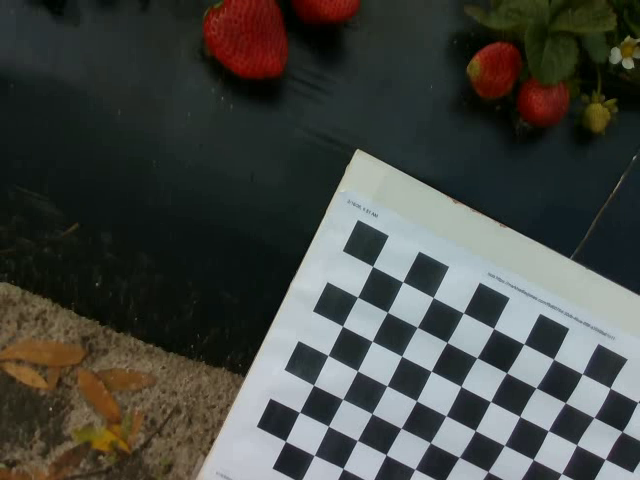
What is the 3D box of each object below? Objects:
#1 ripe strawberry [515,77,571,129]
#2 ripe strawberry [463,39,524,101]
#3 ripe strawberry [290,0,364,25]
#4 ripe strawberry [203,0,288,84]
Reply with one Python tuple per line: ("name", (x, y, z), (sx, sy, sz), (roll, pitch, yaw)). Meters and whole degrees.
("ripe strawberry", (0.155, -0.095, 0.436), (0.043, 0.041, 0.049), (21, 38, -1))
("ripe strawberry", (0.119, -0.119, 0.446), (0.053, 0.047, 0.038), (-4, 17, -29))
("ripe strawberry", (0.004, -0.164, 0.443), (0.050, 0.060, 0.051), (-40, -43, 13))
("ripe strawberry", (-0.047, -0.127, 0.425), (0.058, 0.065, 0.043), (-34, -10, 13))
